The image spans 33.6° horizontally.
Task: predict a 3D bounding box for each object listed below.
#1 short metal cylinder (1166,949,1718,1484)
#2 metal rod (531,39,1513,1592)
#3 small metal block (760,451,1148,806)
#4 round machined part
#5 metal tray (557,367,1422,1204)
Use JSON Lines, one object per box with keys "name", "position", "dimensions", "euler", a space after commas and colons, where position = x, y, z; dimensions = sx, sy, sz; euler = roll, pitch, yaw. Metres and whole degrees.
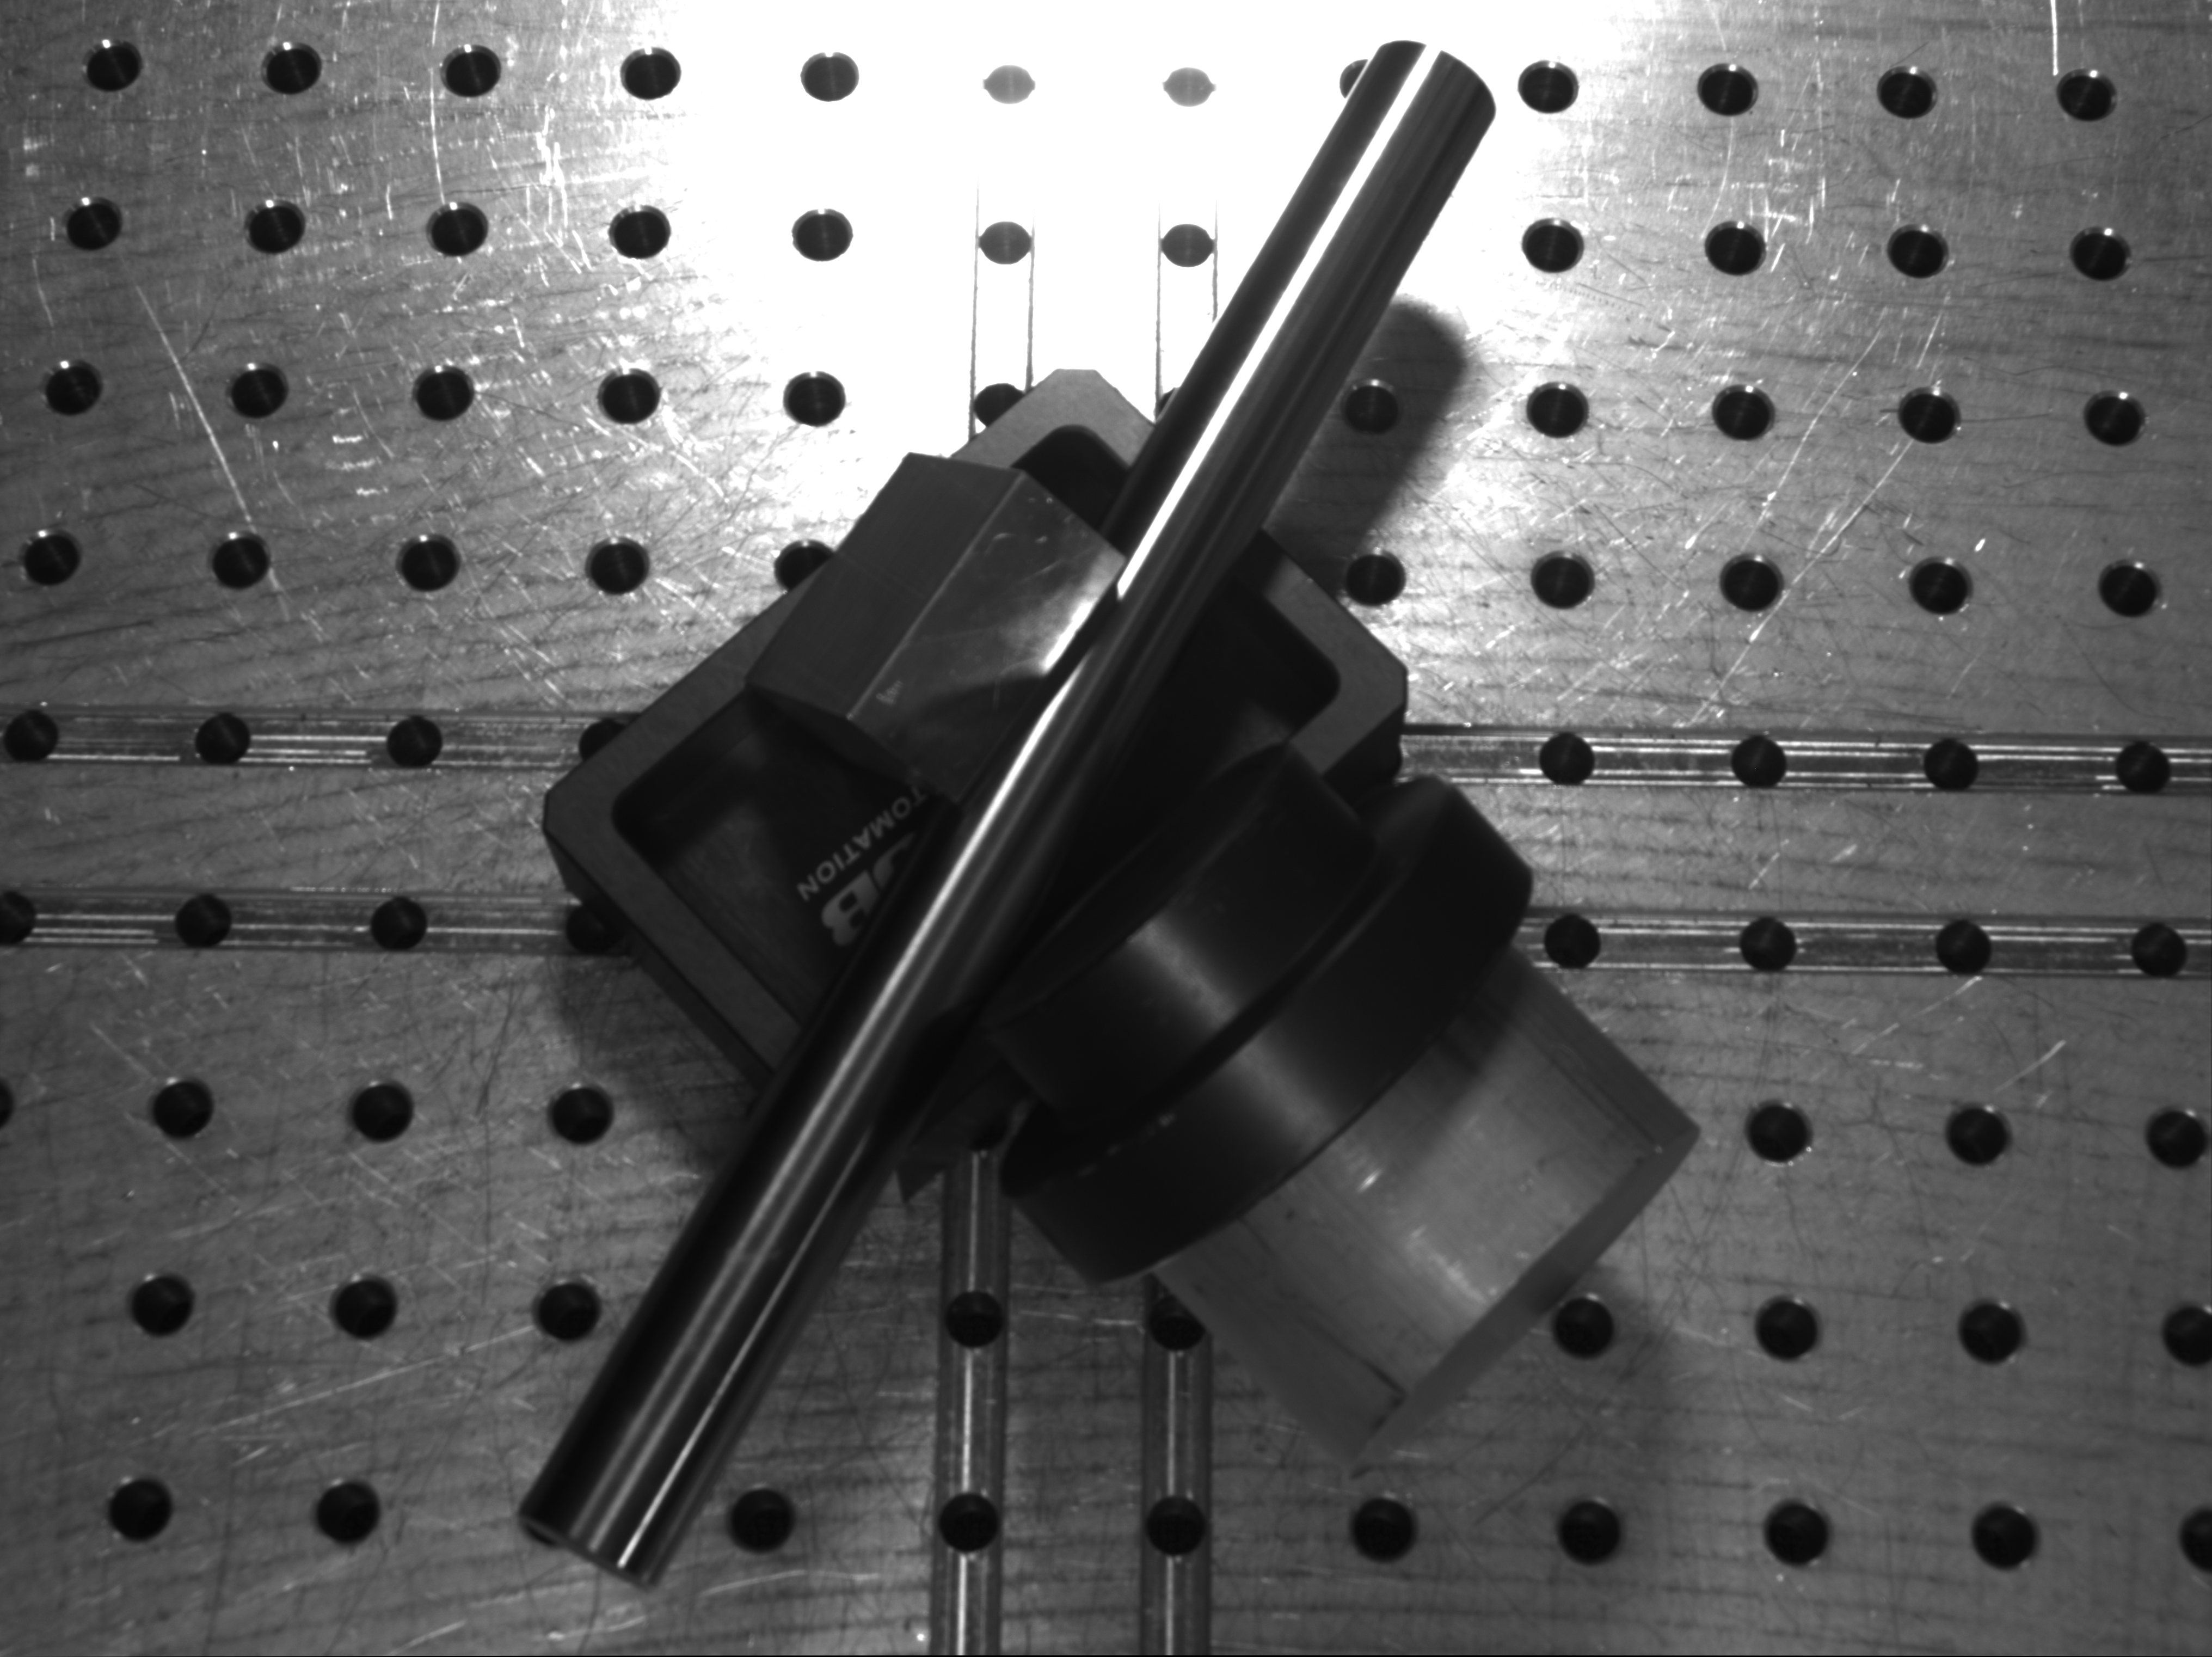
{"name": "short metal cylinder", "position": [0.053, 0.060, 0.595], "dimensions": [0.080, 0.080, 0.050], "euler": [-42, 75, -14]}
{"name": "metal rod", "position": [-0.008, -0.011, 0.619], "dimensions": [0.025, 0.025, 0.300], "euler": [27, 72, 9]}
{"name": "small metal block", "position": [-0.027, -0.035, 0.624], "dimensions": [0.025, 0.050, 0.050], "euler": [38, 82, -26]}
{"name": "round machined part", "position": [0.021, 0.024, 0.589], "dimensions": [0.098, 0.098, 0.042], "euler": [-44, 97, -14]}
{"name": "metal tray", "position": [-0.019, -0.009, 0.647], "dimensions": [0.130, 0.030, 0.090], "euler": [-41, 75, -14]}
